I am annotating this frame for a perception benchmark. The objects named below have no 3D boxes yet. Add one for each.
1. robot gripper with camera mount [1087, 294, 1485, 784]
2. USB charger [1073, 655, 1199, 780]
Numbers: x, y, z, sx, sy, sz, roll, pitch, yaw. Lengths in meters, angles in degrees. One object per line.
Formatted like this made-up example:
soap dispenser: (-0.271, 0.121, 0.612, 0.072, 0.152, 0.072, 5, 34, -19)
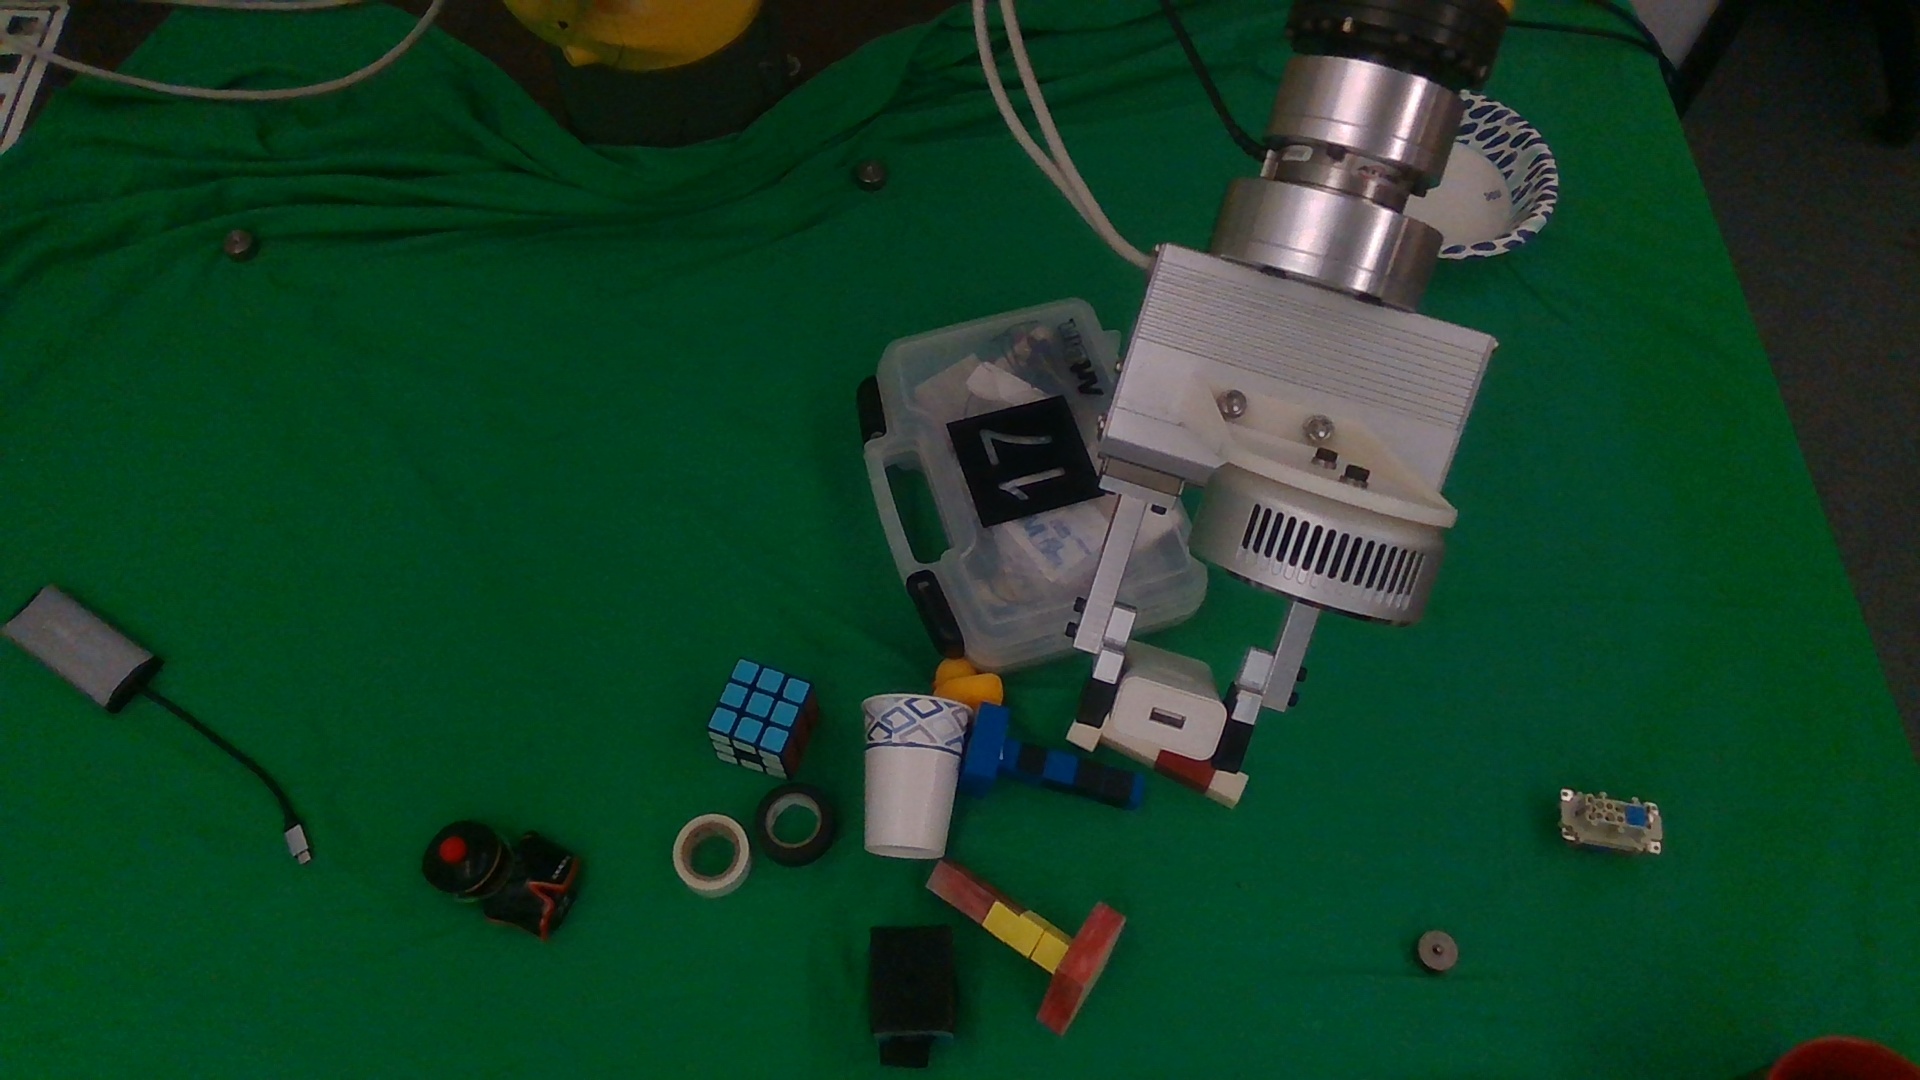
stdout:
robot gripper with camera mount: (0.094, 0.021, 0.419, 0.119, 0.193, 0.158, 19, 100, -1)
USB charger: (0.066, 0.064, 0.532, 0.045, 0.075, 0.029, 18, 101, -1)
